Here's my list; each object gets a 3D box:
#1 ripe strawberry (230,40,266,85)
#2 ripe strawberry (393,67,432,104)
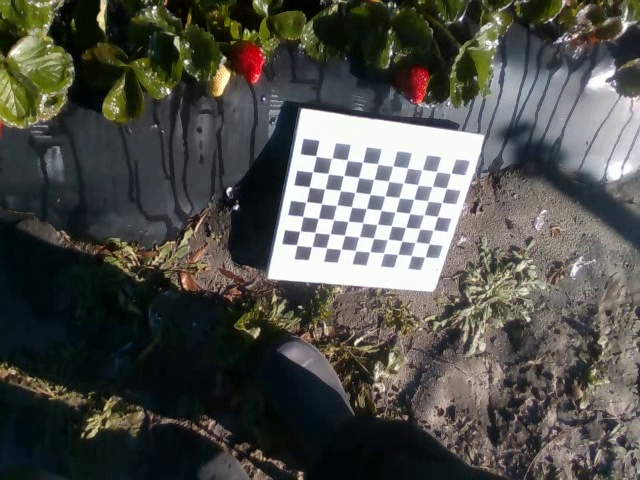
[{"bbox_3d":[-0.091,-0.223,0.827,0.042,0.061,0.046,-8,-14,-11],"label":"ripe strawberry"},{"bbox_3d":[0.130,-0.212,0.883,0.048,0.061,0.044,-1,-6,-14],"label":"ripe strawberry"}]
